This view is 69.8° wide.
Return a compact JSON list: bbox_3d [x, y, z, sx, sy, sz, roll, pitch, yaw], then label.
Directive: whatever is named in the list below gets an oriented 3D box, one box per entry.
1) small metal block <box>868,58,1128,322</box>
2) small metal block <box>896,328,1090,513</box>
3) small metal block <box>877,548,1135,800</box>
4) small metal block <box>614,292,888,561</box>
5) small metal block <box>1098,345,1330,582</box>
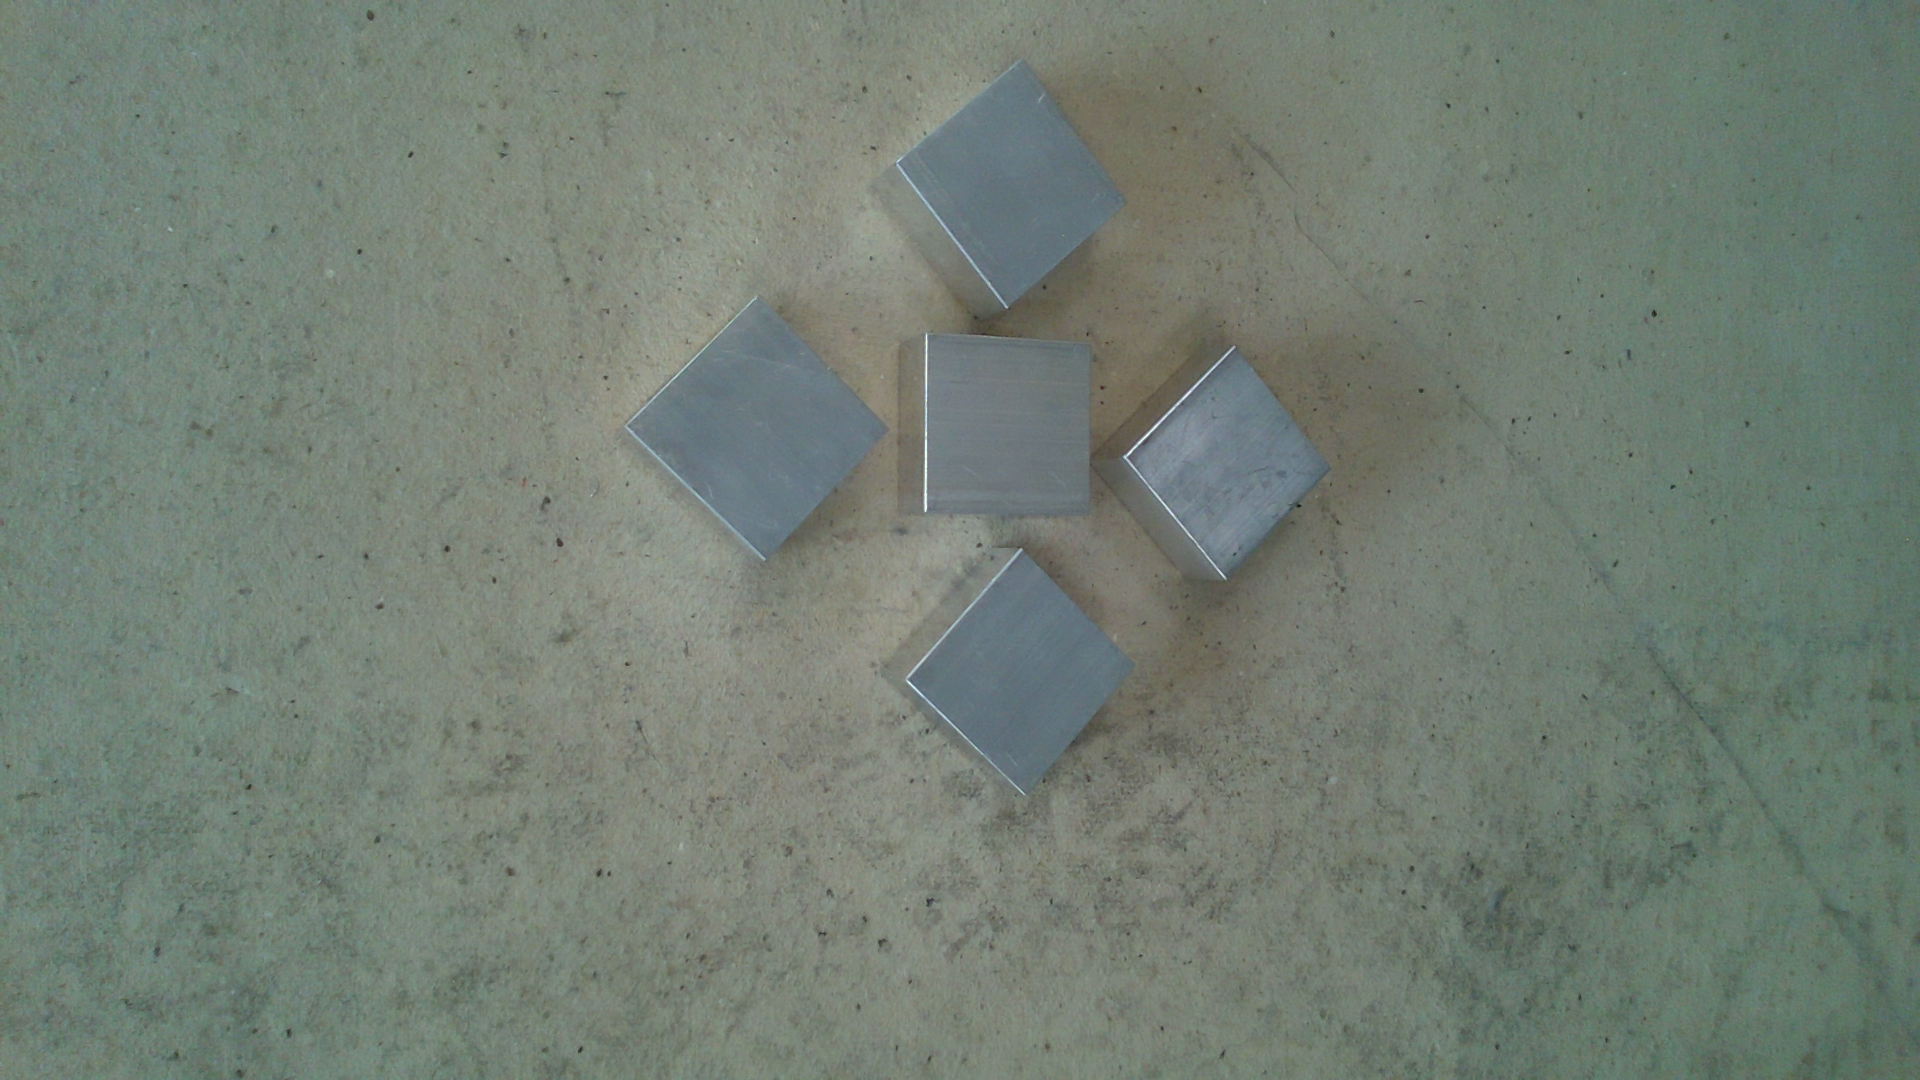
[{"bbox_3d":[0.011,-0.100,0.397,0.050,0.025,0.050,-43,103,-15],"label":"small metal block"},{"bbox_3d":[0.009,-0.033,0.397,0.050,0.025,0.050,0,90,-20],"label":"small metal block"},{"bbox_3d":[0.013,0.038,0.399,0.050,0.025,0.050,46,75,-15],"label":"small metal block"},{"bbox_3d":[-0.057,-0.030,0.373,0.050,0.025,0.050,45,75,-14],"label":"small metal block"},{"bbox_3d":[0.076,-0.023,0.422,0.050,0.025,0.050,-45,104,-14],"label":"small metal block"}]
